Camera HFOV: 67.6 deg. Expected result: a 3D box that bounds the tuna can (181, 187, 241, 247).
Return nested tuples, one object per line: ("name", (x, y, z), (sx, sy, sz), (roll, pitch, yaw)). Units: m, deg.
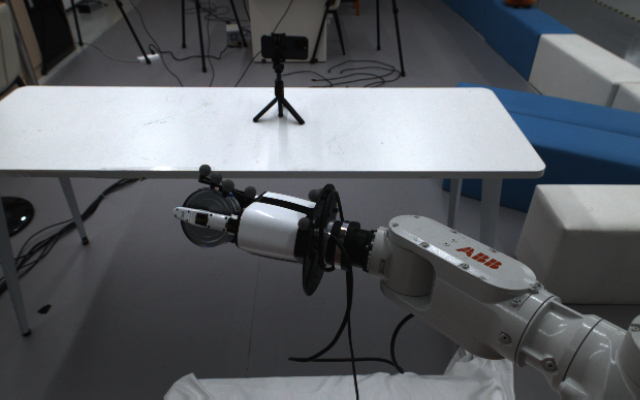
("tuna can", (-0.156, 0.026, 0.707), (0.085, 0.085, 0.034), (13, 2, 16))
